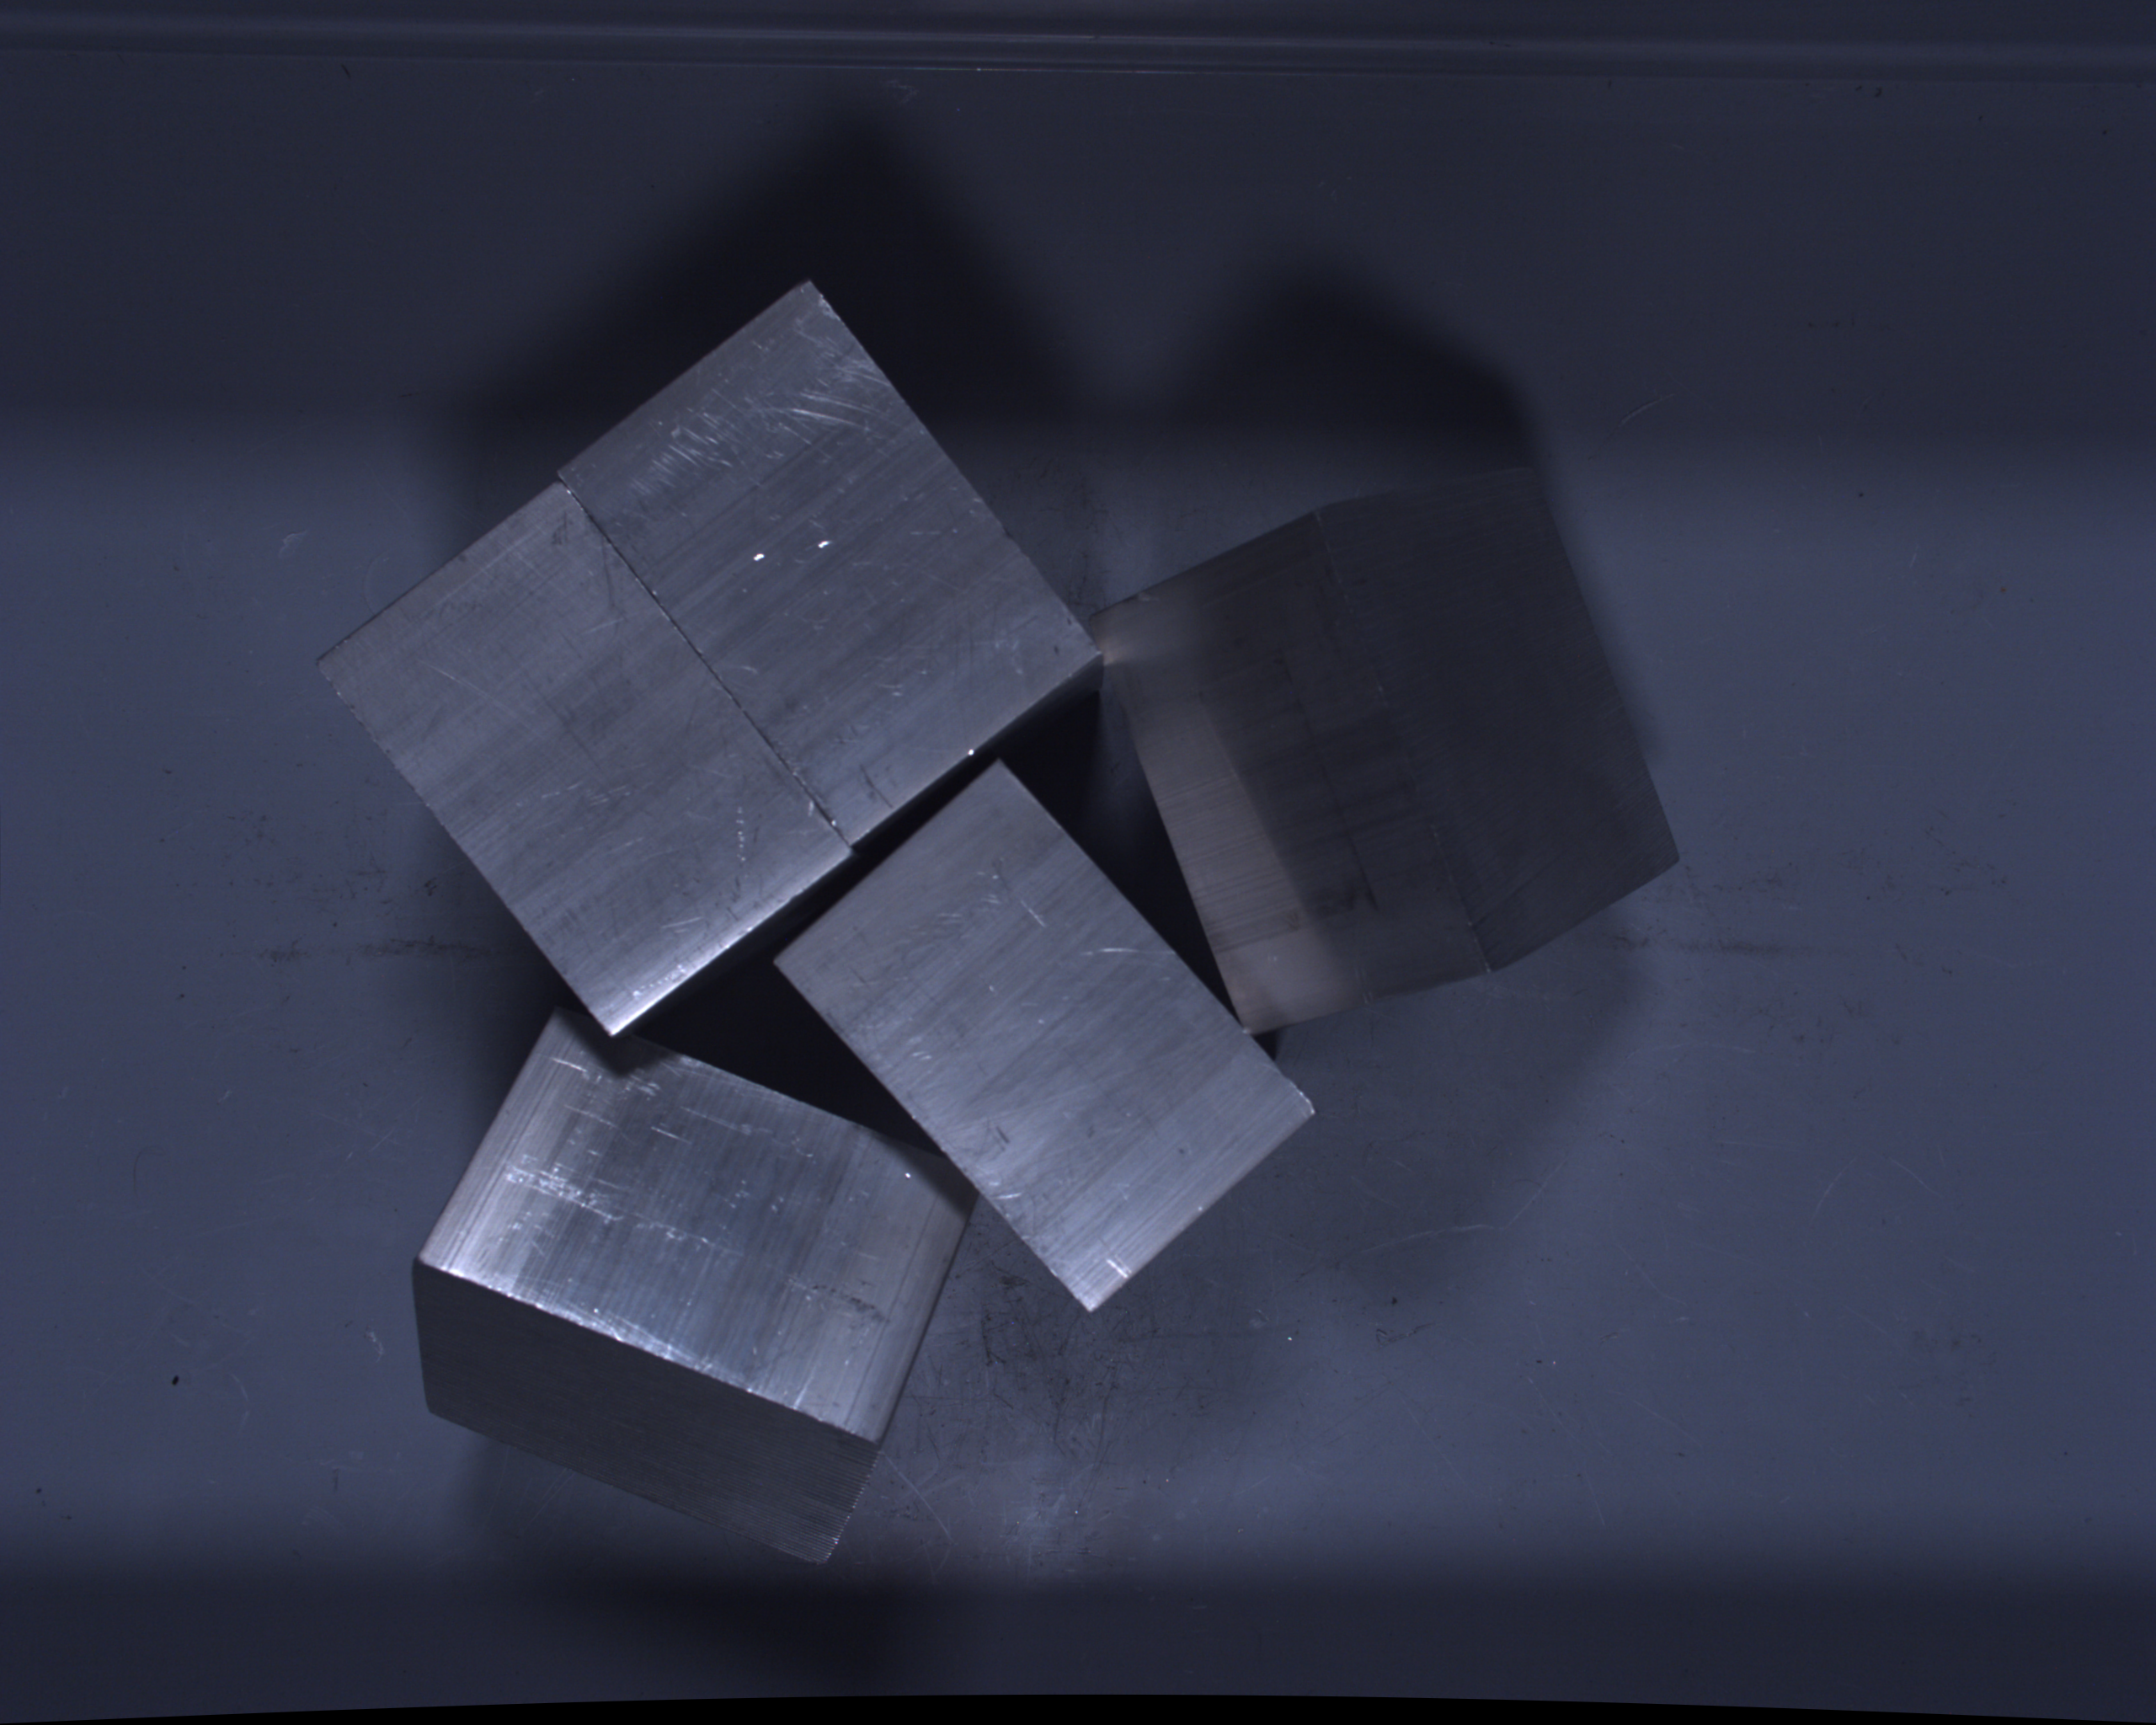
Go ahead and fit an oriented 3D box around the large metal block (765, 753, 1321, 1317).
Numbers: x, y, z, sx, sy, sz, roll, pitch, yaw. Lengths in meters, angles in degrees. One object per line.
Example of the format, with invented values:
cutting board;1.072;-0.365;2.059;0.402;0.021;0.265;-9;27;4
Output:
large metal block;-0.006;0.028;0.382;0.050;0.080;0.080;-42;91;0

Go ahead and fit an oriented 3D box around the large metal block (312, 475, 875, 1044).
large metal block;-0.081;-0.017;0.382;0.050;0.080;0.080;-38;90;0

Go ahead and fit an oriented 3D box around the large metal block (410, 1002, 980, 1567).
large metal block;-0.069;0.079;0.375;0.080;0.080;0.050;22;55;-1

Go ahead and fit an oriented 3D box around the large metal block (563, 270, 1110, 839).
large metal block;-0.040;-0.051;0.382;0.050;0.080;0.080;-39;91;0

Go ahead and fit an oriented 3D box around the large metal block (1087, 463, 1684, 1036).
large metal block;0.058;-0.022;0.377;0.050;0.081;0.080;-21;90;40
